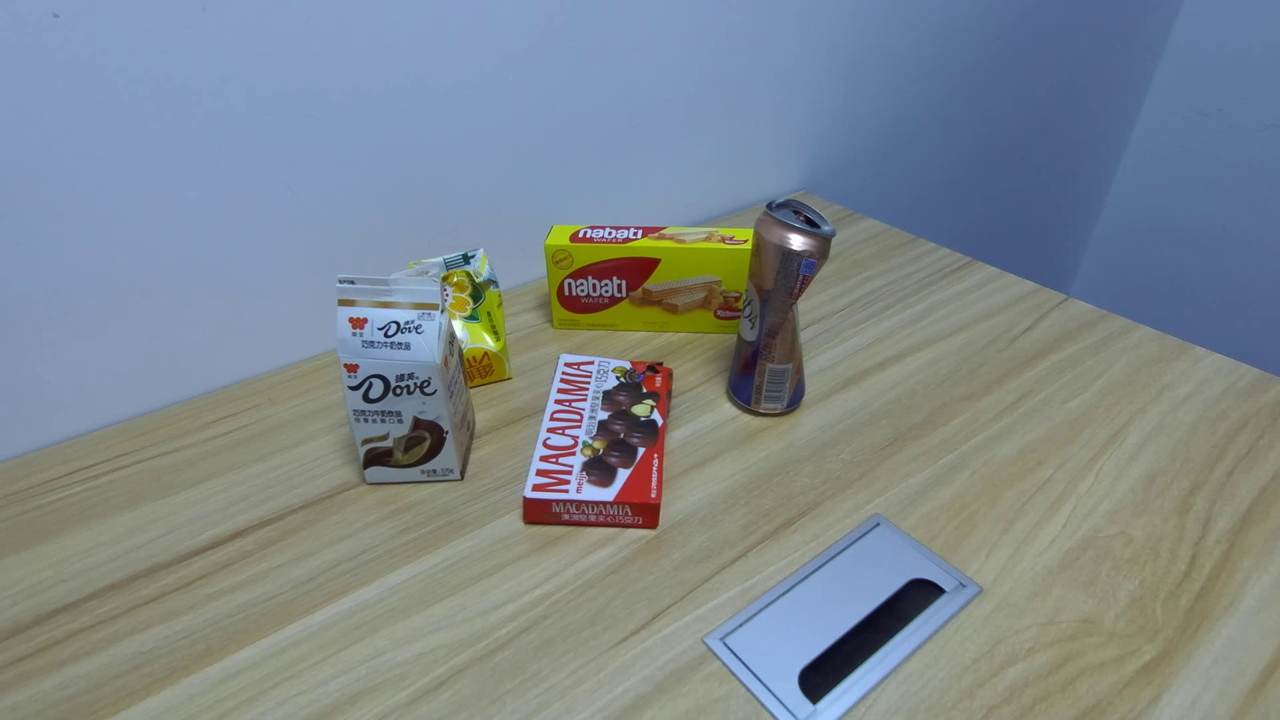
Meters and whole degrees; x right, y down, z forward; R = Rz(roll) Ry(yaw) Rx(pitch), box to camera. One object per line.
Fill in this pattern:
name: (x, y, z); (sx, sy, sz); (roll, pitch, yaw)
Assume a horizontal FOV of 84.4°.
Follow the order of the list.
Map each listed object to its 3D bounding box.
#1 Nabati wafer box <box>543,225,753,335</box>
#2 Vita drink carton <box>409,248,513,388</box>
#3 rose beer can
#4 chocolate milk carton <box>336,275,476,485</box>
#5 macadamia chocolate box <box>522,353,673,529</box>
Nabati wafer box: (0.015, -0.075, 0.671); (0.203, 0.093, 0.042); (2, 33, 4)
Vita drink carton: (-0.152, -0.032, 0.604); (0.071, 0.110, 0.046); (-13, 34, -15)
rose beer can: (0.108, -0.038, 0.553); (0.070, 0.168, 0.069); (-23, 41, -36)
chocolate milk carton: (-0.172, 0.007, 0.508); (0.084, 0.155, 0.073); (-3, 35, -2)
macadamia chocolate box: (-0.026, 0.052, 0.552); (0.103, 0.027, 0.186); (3, 34, 1)
